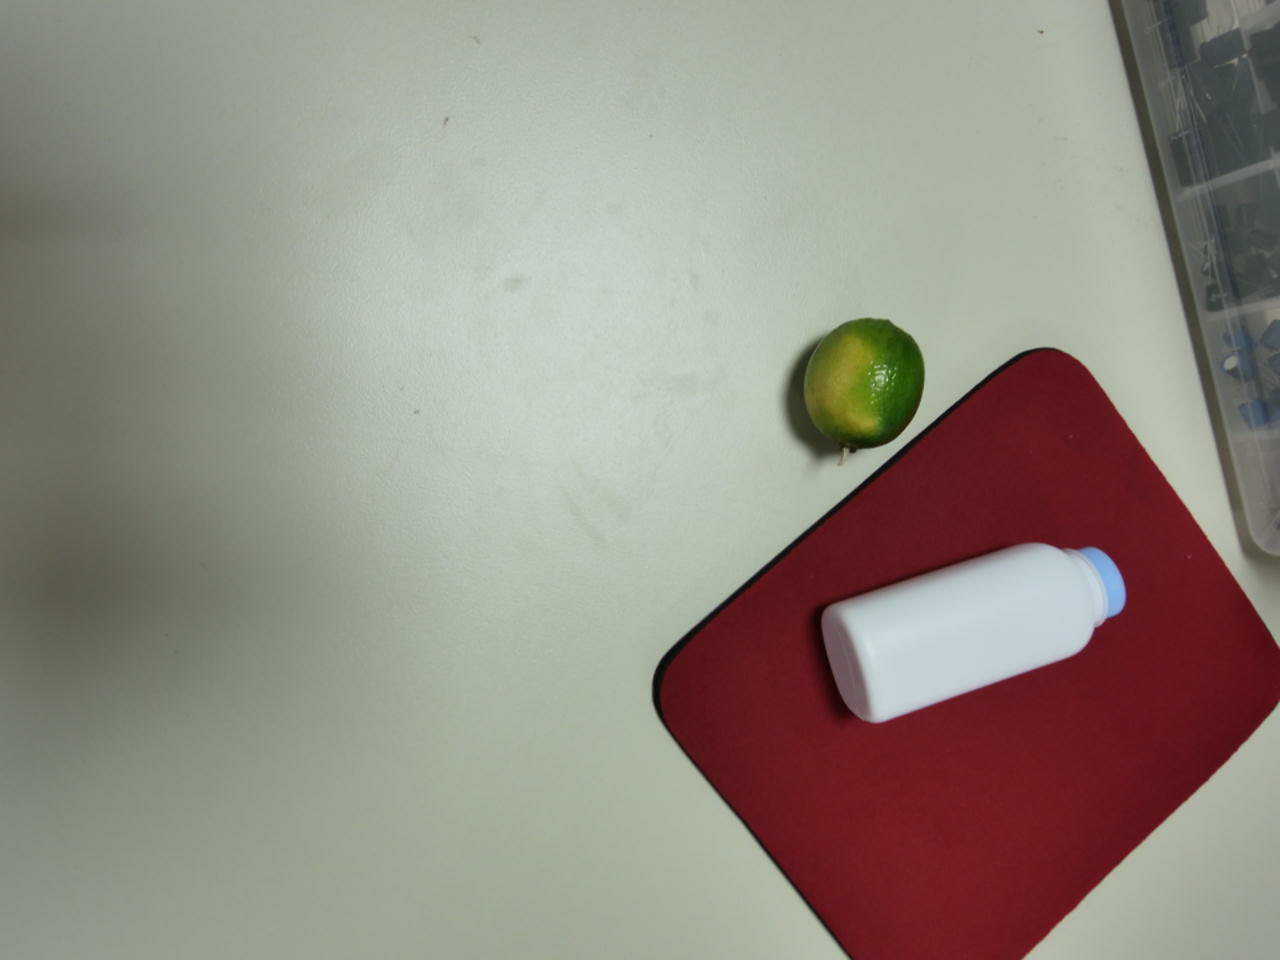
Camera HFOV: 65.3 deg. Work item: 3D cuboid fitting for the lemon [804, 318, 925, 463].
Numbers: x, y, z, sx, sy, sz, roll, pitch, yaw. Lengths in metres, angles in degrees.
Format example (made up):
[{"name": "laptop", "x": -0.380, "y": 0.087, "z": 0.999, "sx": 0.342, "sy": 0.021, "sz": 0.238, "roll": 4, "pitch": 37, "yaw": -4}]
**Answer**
[{"name": "lemon", "x": 0.098, "y": -0.042, "z": 0.436, "sx": 0.055, "sy": 0.050, "sz": 0.054, "roll": -30, "pitch": 96, "yaw": -10}]
